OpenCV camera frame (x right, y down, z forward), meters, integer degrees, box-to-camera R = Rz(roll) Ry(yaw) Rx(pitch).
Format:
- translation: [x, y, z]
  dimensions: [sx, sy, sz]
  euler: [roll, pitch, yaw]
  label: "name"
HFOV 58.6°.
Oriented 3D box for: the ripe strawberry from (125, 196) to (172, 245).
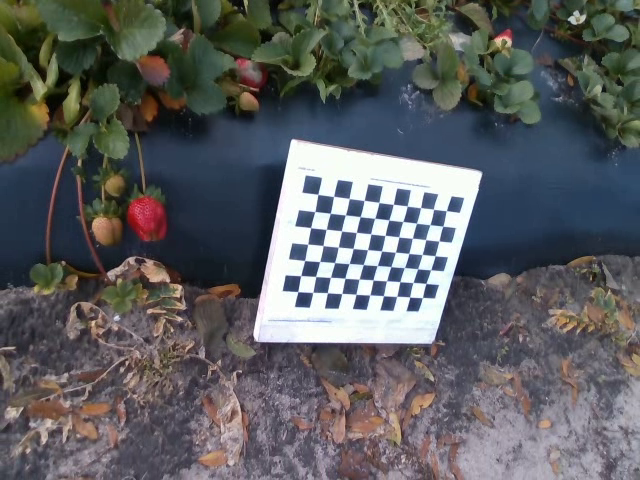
- translation: [-0.221, -0.025, 0.723]
  dimensions: [0.067, 0.075, 0.052]
  euler: [-14, 24, -18]
  label: "ripe strawberry"
